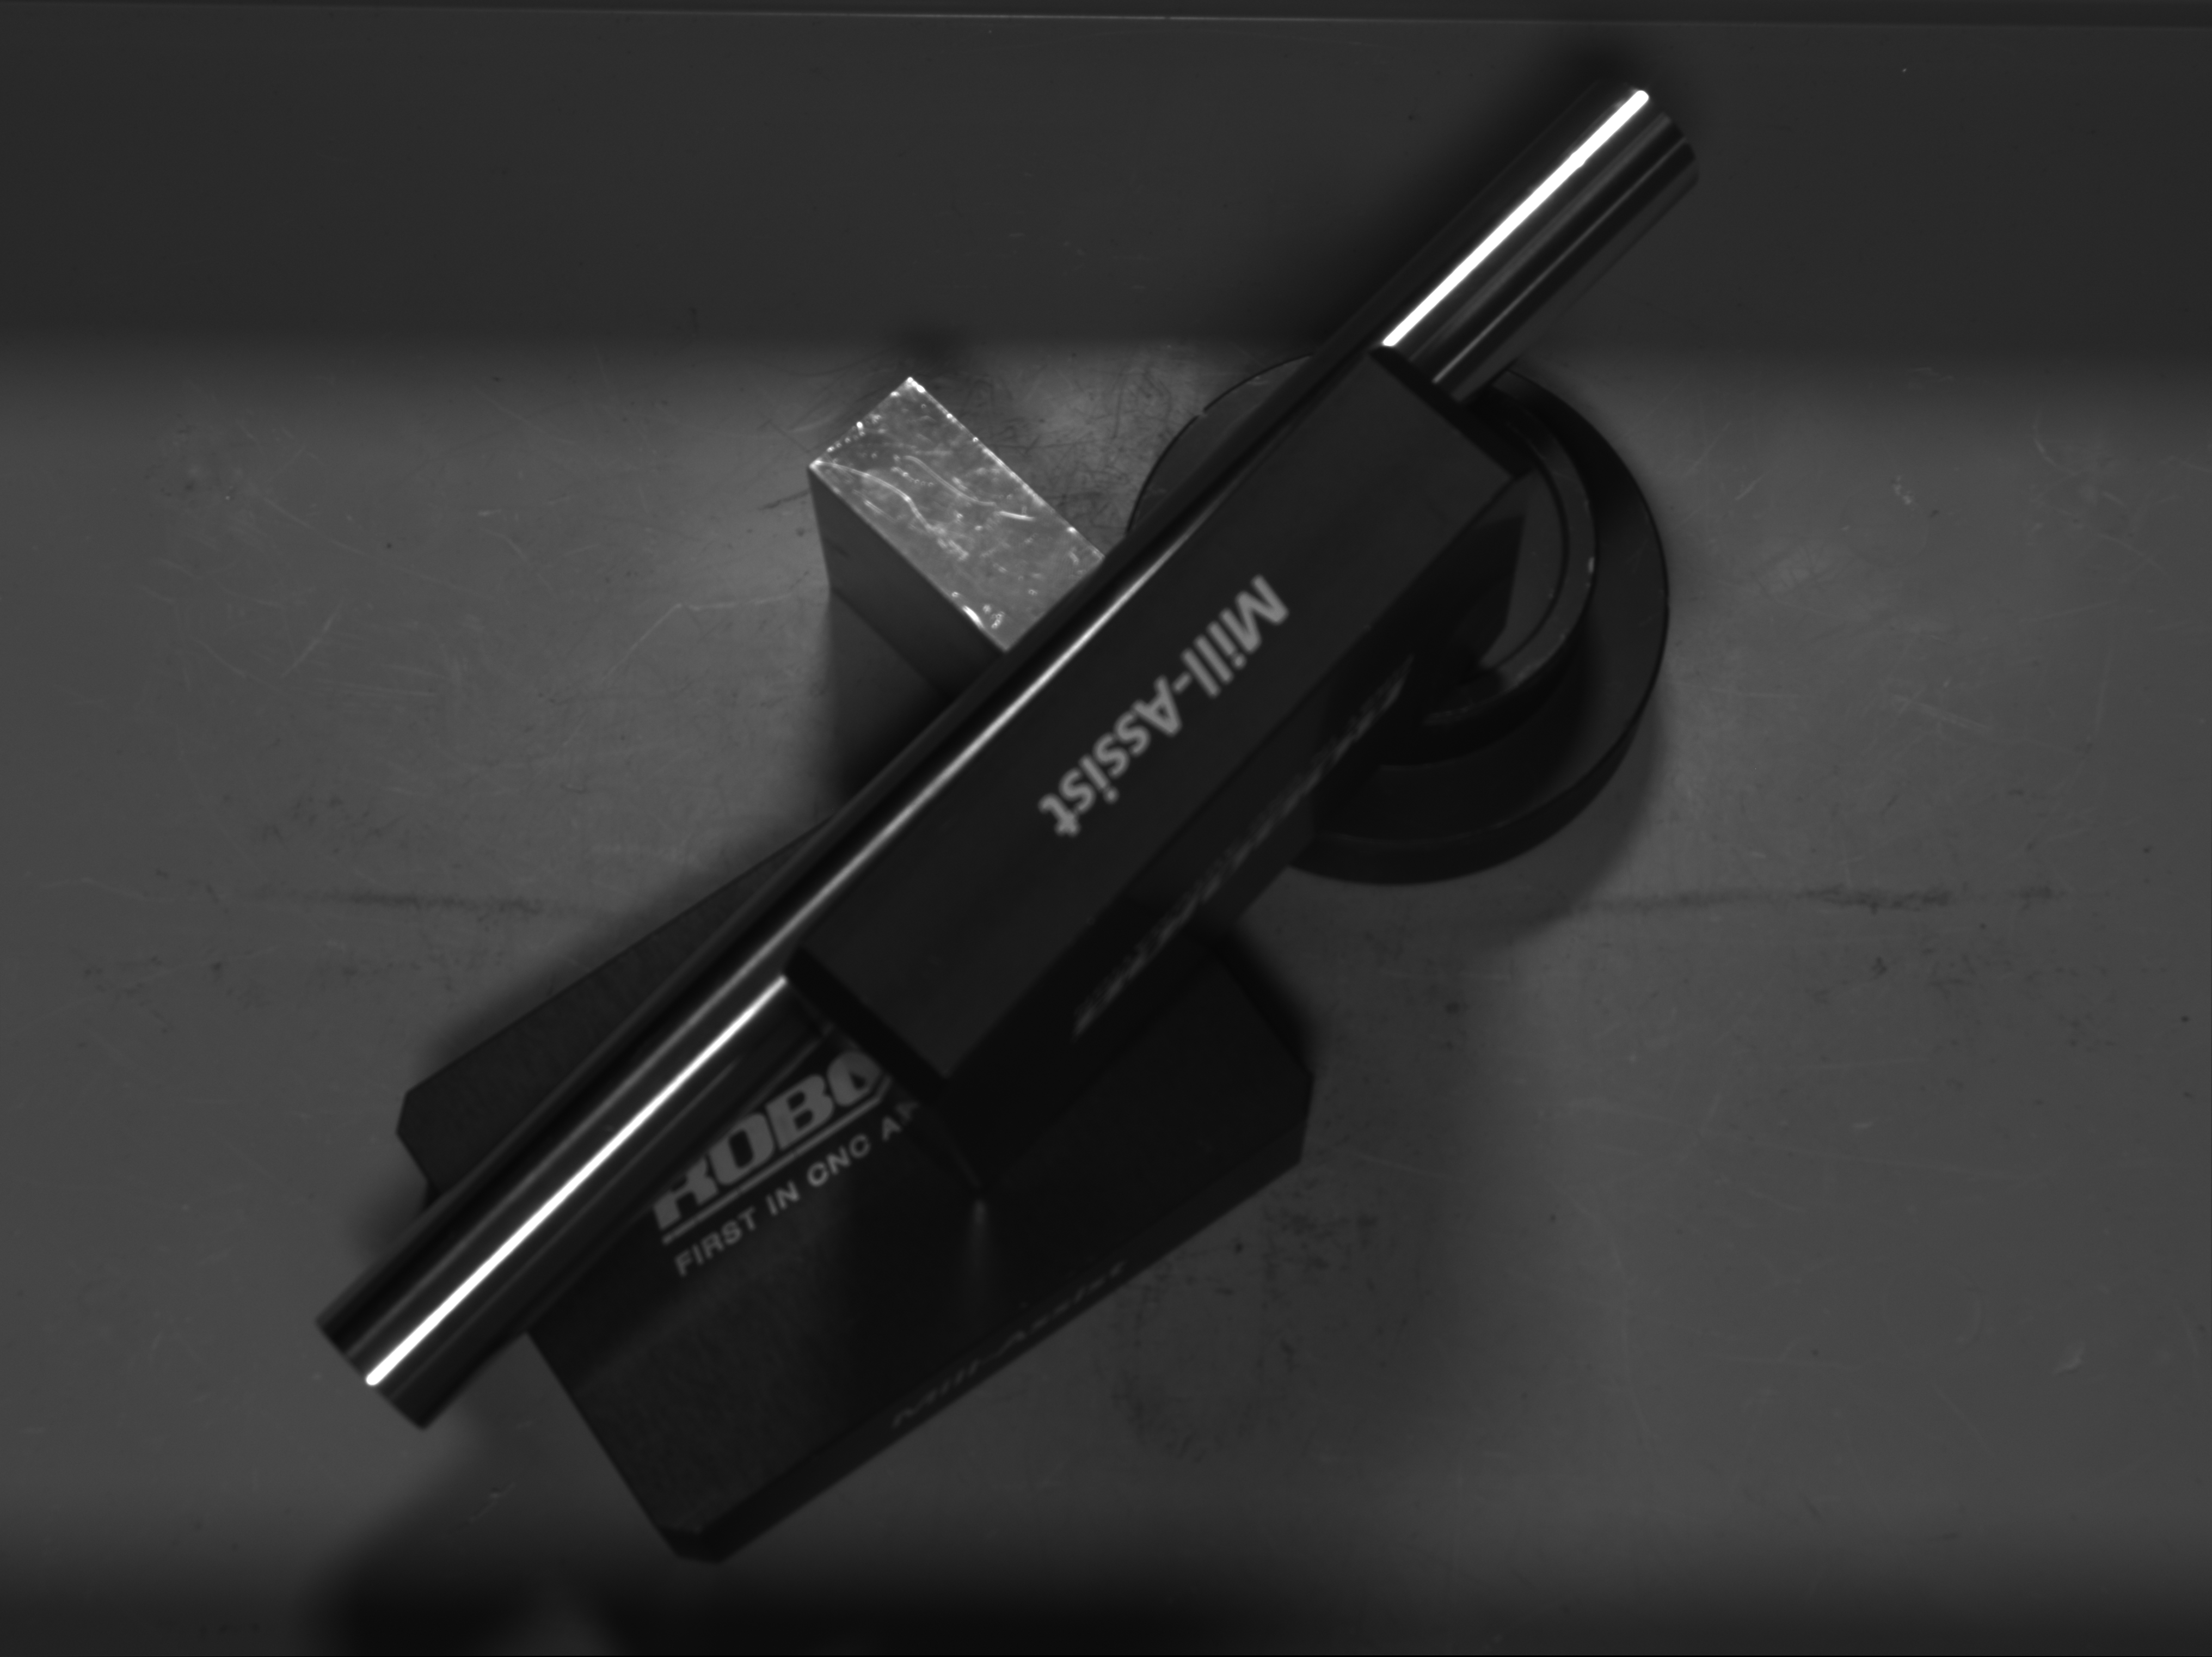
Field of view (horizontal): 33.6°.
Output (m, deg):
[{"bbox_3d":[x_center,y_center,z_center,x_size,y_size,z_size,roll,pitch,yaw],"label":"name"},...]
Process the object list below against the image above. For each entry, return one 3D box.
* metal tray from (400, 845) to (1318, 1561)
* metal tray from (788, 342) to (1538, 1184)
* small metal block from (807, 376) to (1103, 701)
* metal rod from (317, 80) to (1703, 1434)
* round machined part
[{"bbox_3d":[-0.041,0.051,0.622,0.130,0.030,0.090,-33,73,-11],"label":"metal tray"},{"bbox_3d":[0.011,-0.007,0.571,0.030,0.090,0.130,42,82,11],"label":"metal tray"},{"bbox_3d":[-0.025,-0.045,0.647,0.025,0.050,0.050,-43,75,-14],"label":"small metal block"},{"bbox_3d":[-0.011,-0.016,0.608,0.025,0.025,0.300,43,79,14],"label":"metal rod"},{"bbox_3d":[0.051,-0.043,0.650,0.098,0.042,0.098,0,70,0],"label":"round machined part"}]
